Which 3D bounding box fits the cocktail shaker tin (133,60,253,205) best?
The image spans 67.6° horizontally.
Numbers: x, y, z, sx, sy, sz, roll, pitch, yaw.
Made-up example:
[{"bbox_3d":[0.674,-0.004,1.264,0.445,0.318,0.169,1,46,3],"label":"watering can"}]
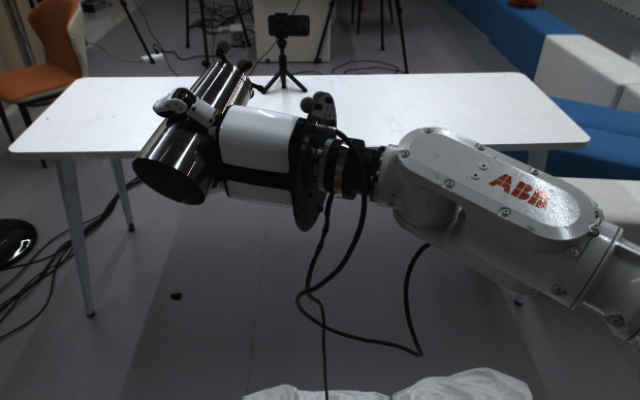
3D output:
[{"bbox_3d":[-0.148,-0.088,0.598,0.093,0.093,0.170,14,61,17],"label":"cocktail shaker tin"}]
